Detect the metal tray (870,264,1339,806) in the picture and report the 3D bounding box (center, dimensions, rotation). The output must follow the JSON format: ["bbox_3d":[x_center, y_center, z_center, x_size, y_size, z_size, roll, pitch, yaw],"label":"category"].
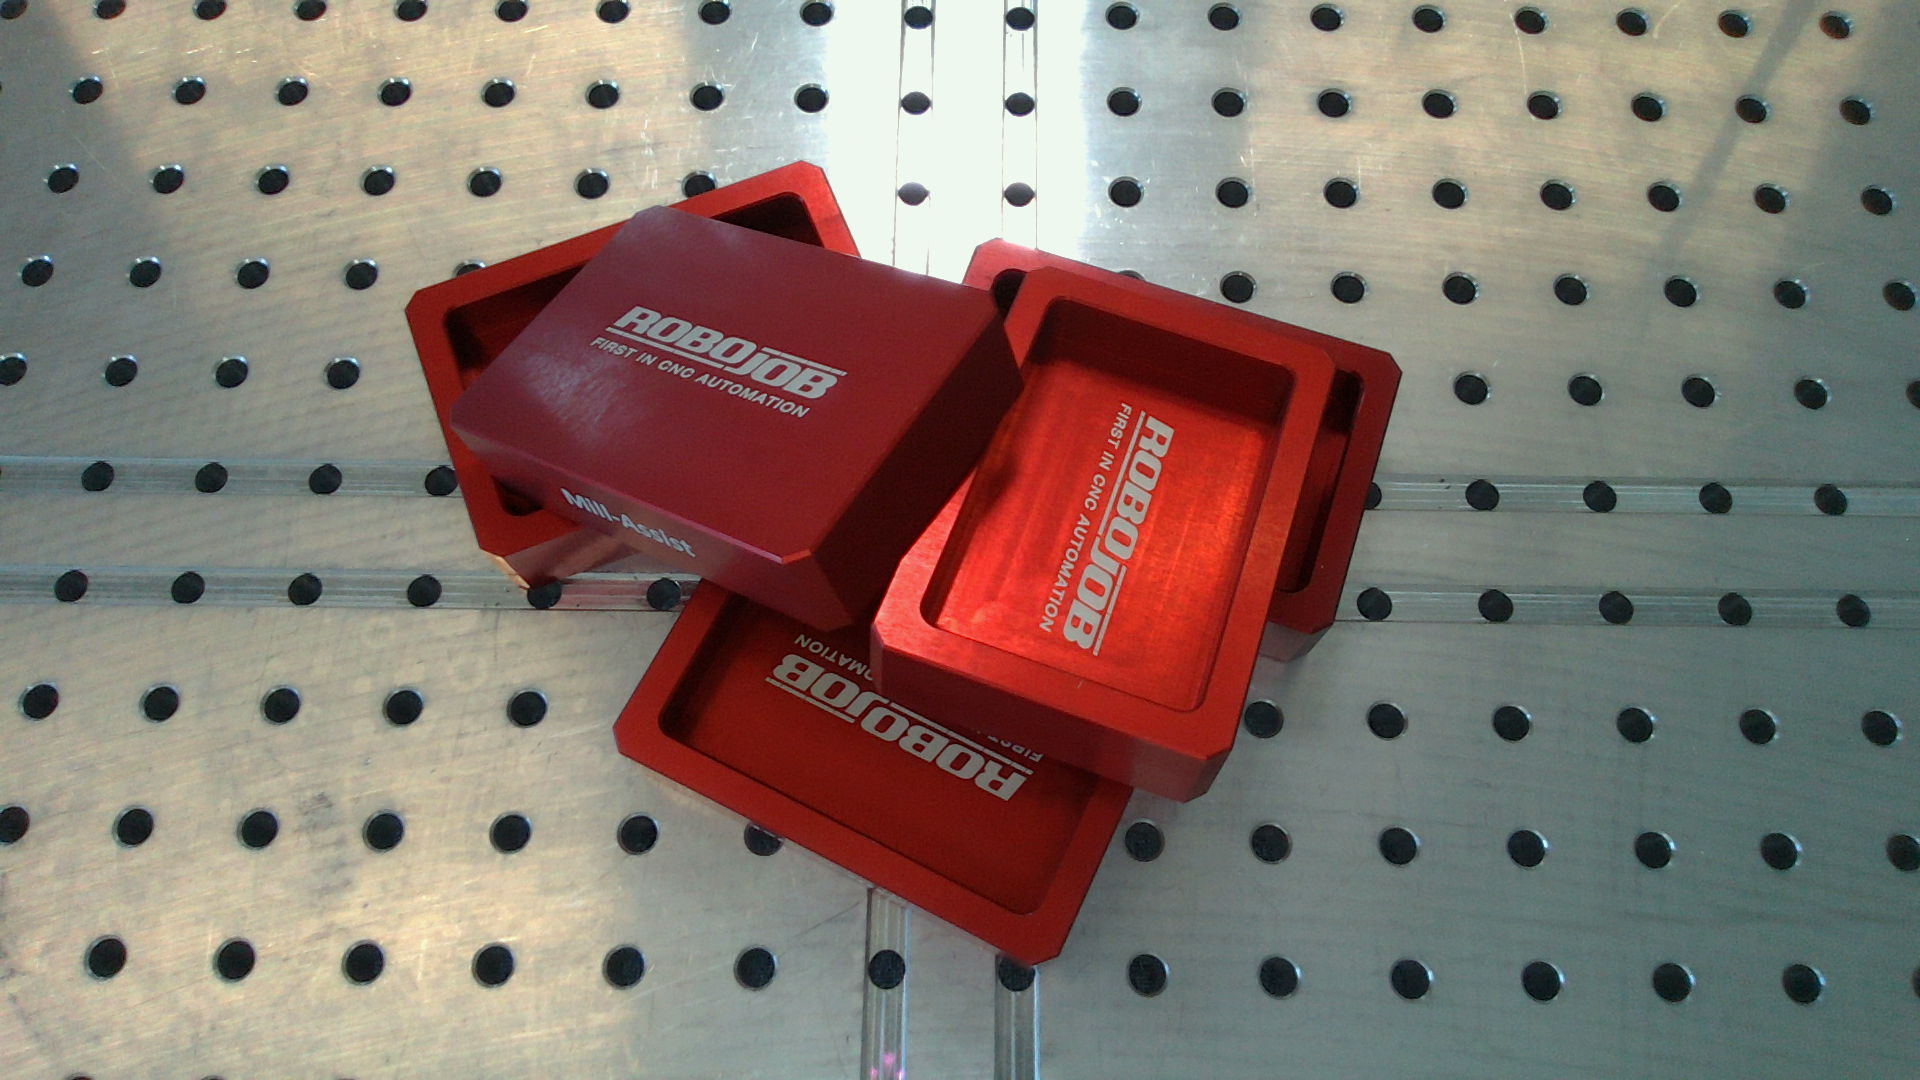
[{"bbox_3d":[0.040,-0.006,0.364,0.090,0.030,0.130,19,59,7],"label":"metal tray"}]

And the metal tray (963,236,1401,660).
[{"bbox_3d":[0.053,-0.029,0.404,0.130,0.030,0.090,18,70,7],"label":"metal tray"}]

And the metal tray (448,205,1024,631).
[{"bbox_3d":[-0.061,-0.038,0.365,0.130,0.030,0.090,20,62,31],"label":"metal tray"}]

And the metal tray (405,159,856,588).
[{"bbox_3d":[-0.088,-0.051,0.413,0.130,0.030,0.090,-21,71,-7],"label":"metal tray"}]

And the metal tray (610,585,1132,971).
[{"bbox_3d":[-0.016,0.048,0.377,0.130,0.030,0.090,25,72,9],"label":"metal tray"}]
